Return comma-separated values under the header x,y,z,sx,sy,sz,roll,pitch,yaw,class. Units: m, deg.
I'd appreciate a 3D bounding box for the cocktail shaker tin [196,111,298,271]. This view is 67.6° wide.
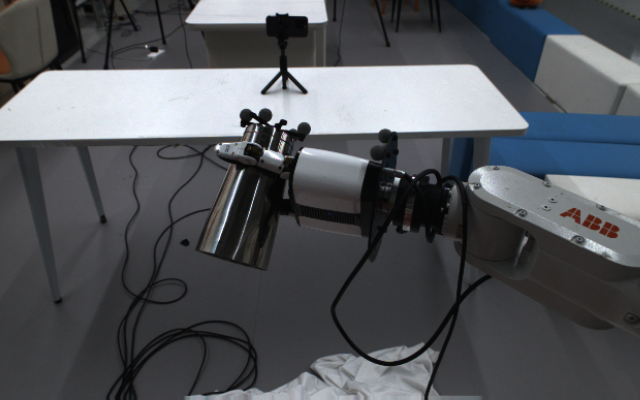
x,y,z,sx,sy,sz,roll,pitch,yaw,class
-0.085,-0.008,0.612,0.093,0.093,0.170,13,77,15,cocktail shaker tin
